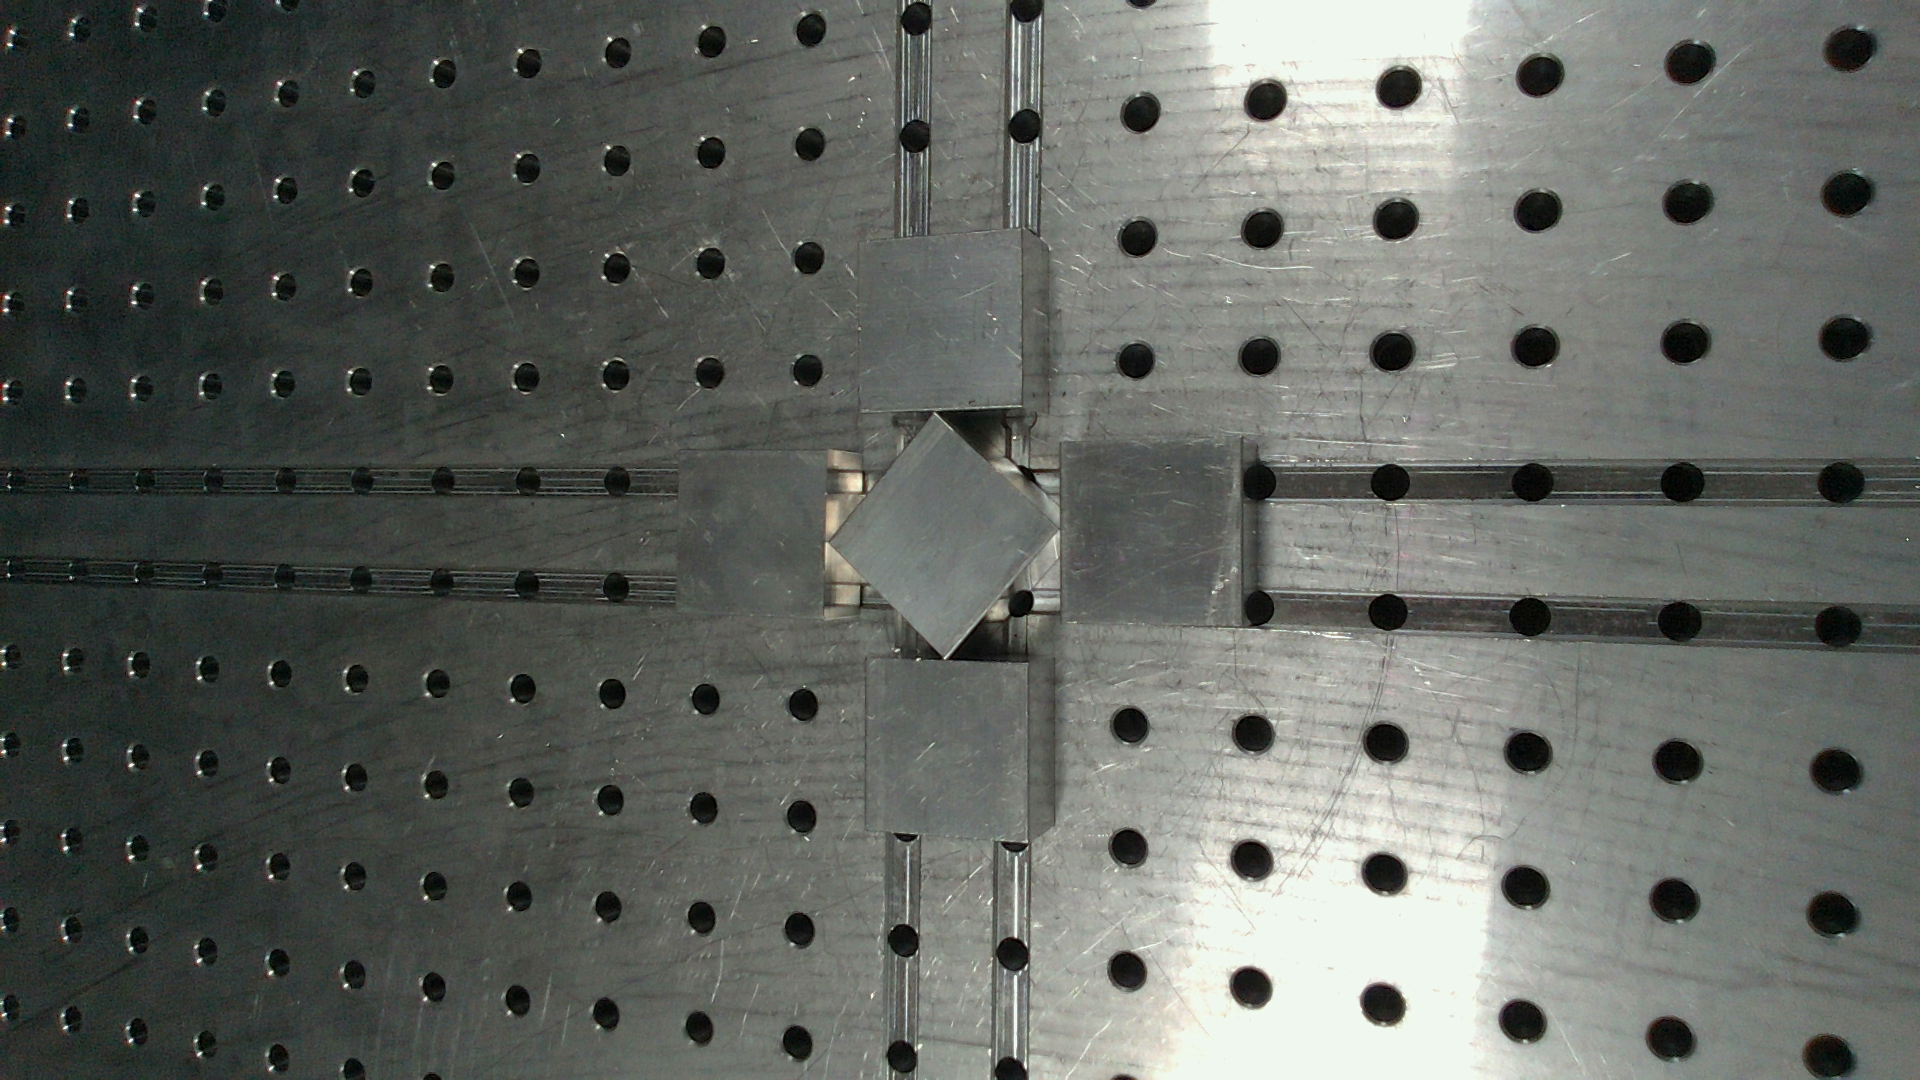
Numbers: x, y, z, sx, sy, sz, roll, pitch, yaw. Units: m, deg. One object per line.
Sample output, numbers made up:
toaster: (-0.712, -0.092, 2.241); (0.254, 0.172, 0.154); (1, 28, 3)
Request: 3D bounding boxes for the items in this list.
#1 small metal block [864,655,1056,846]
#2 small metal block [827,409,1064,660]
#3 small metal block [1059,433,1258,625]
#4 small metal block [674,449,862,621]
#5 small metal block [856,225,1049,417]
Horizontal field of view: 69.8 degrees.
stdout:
small metal block: (0.000, 0.059, 0.398); (0.050, 0.025, 0.050); (0, 90, 20)
small metal block: (-0.001, -0.002, 0.399); (0.050, 0.025, 0.050); (44, 104, 15)
small metal block: (0.055, -0.003, 0.378); (0.050, 0.025, 0.050); (0, 90, 20)
small metal block: (-0.058, -0.002, 0.419); (0.050, 0.025, 0.050); (1, 91, 20)
small metal block: (-0.002, -0.062, 0.399); (0.050, 0.025, 0.050); (-1, 90, 20)
